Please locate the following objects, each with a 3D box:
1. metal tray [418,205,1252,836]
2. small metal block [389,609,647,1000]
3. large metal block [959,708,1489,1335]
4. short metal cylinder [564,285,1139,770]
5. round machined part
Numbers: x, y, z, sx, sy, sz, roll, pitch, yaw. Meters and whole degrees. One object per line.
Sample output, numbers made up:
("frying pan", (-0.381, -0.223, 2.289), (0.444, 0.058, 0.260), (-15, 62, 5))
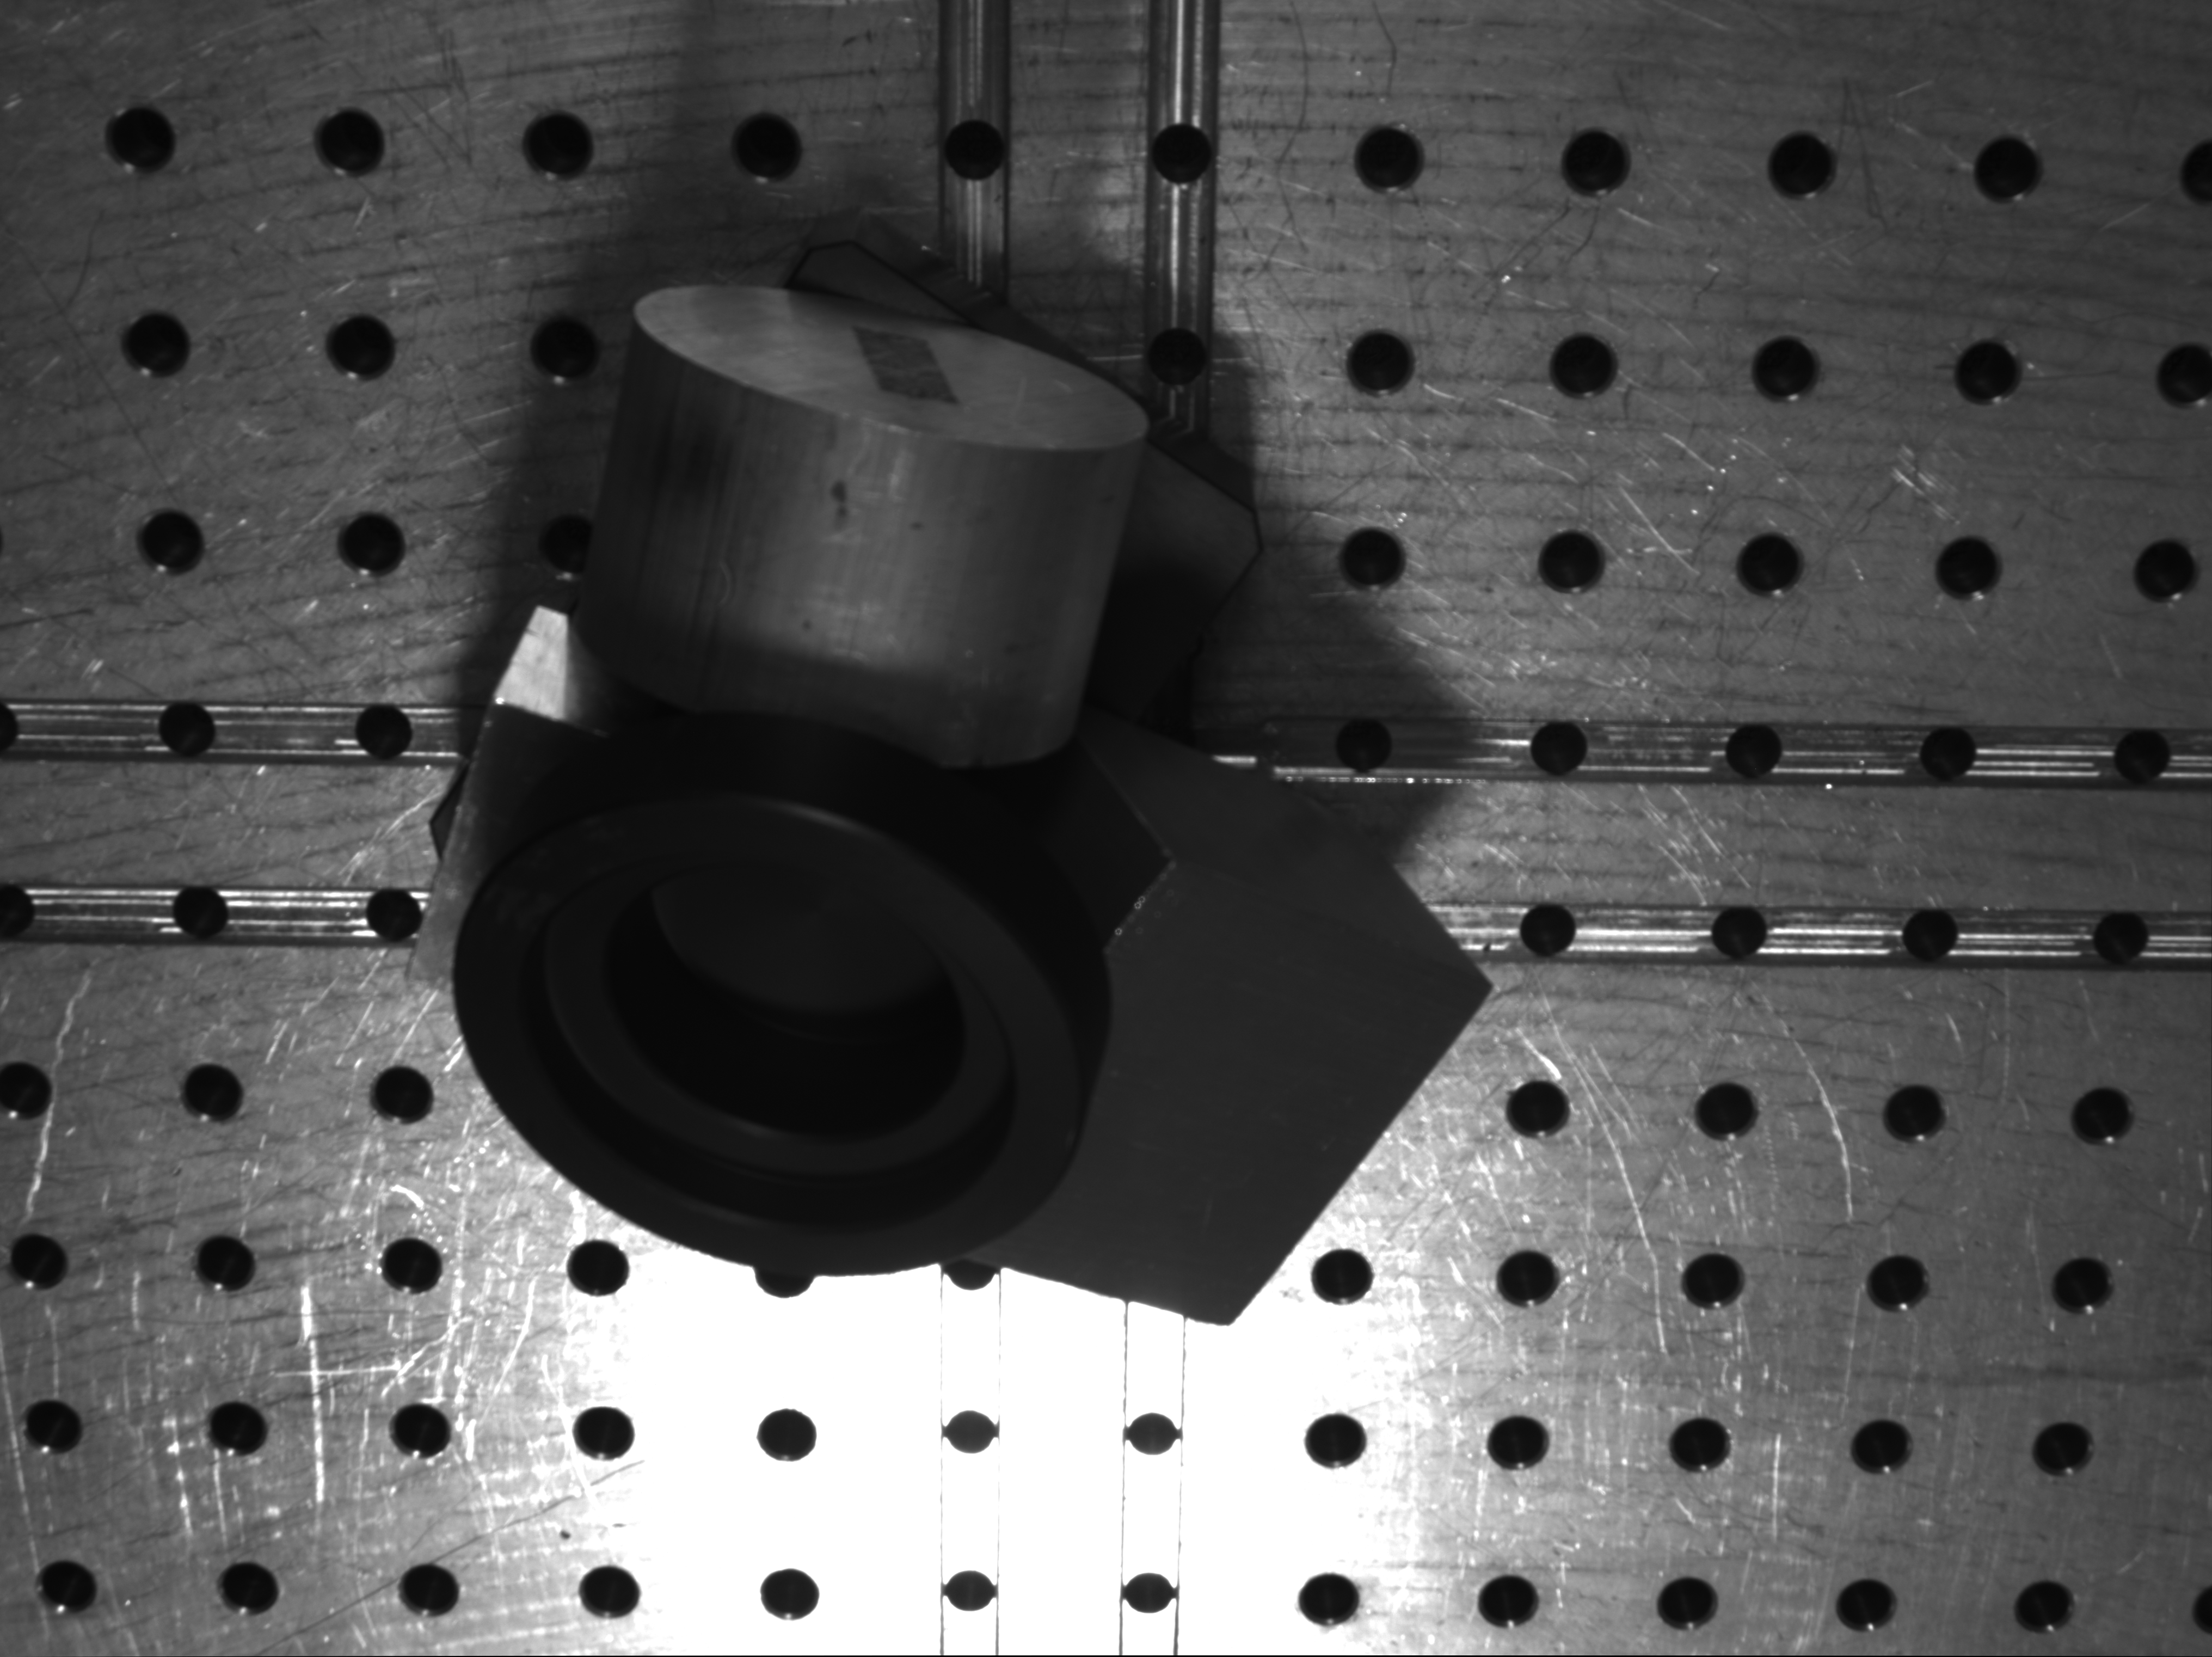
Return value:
("metal tray", (-0.047, -0.029, 0.632), (0.090, 0.030, 0.130), (33, 106, -12))
("small metal block", (-0.094, -0.002, 0.597), (0.025, 0.050, 0.050), (18, 109, -7))
("large metal block", (0.004, 0.033, 0.625), (0.080, 0.050, 0.080), (22, 111, -41))
("short metal cylinder", (-0.040, -0.048, 0.566), (0.080, 0.080, 0.050), (13, 109, -5))
("round machined part", (-0.049, 0.021, 0.564), (0.098, 0.042, 0.098), (7, 130, 8))
